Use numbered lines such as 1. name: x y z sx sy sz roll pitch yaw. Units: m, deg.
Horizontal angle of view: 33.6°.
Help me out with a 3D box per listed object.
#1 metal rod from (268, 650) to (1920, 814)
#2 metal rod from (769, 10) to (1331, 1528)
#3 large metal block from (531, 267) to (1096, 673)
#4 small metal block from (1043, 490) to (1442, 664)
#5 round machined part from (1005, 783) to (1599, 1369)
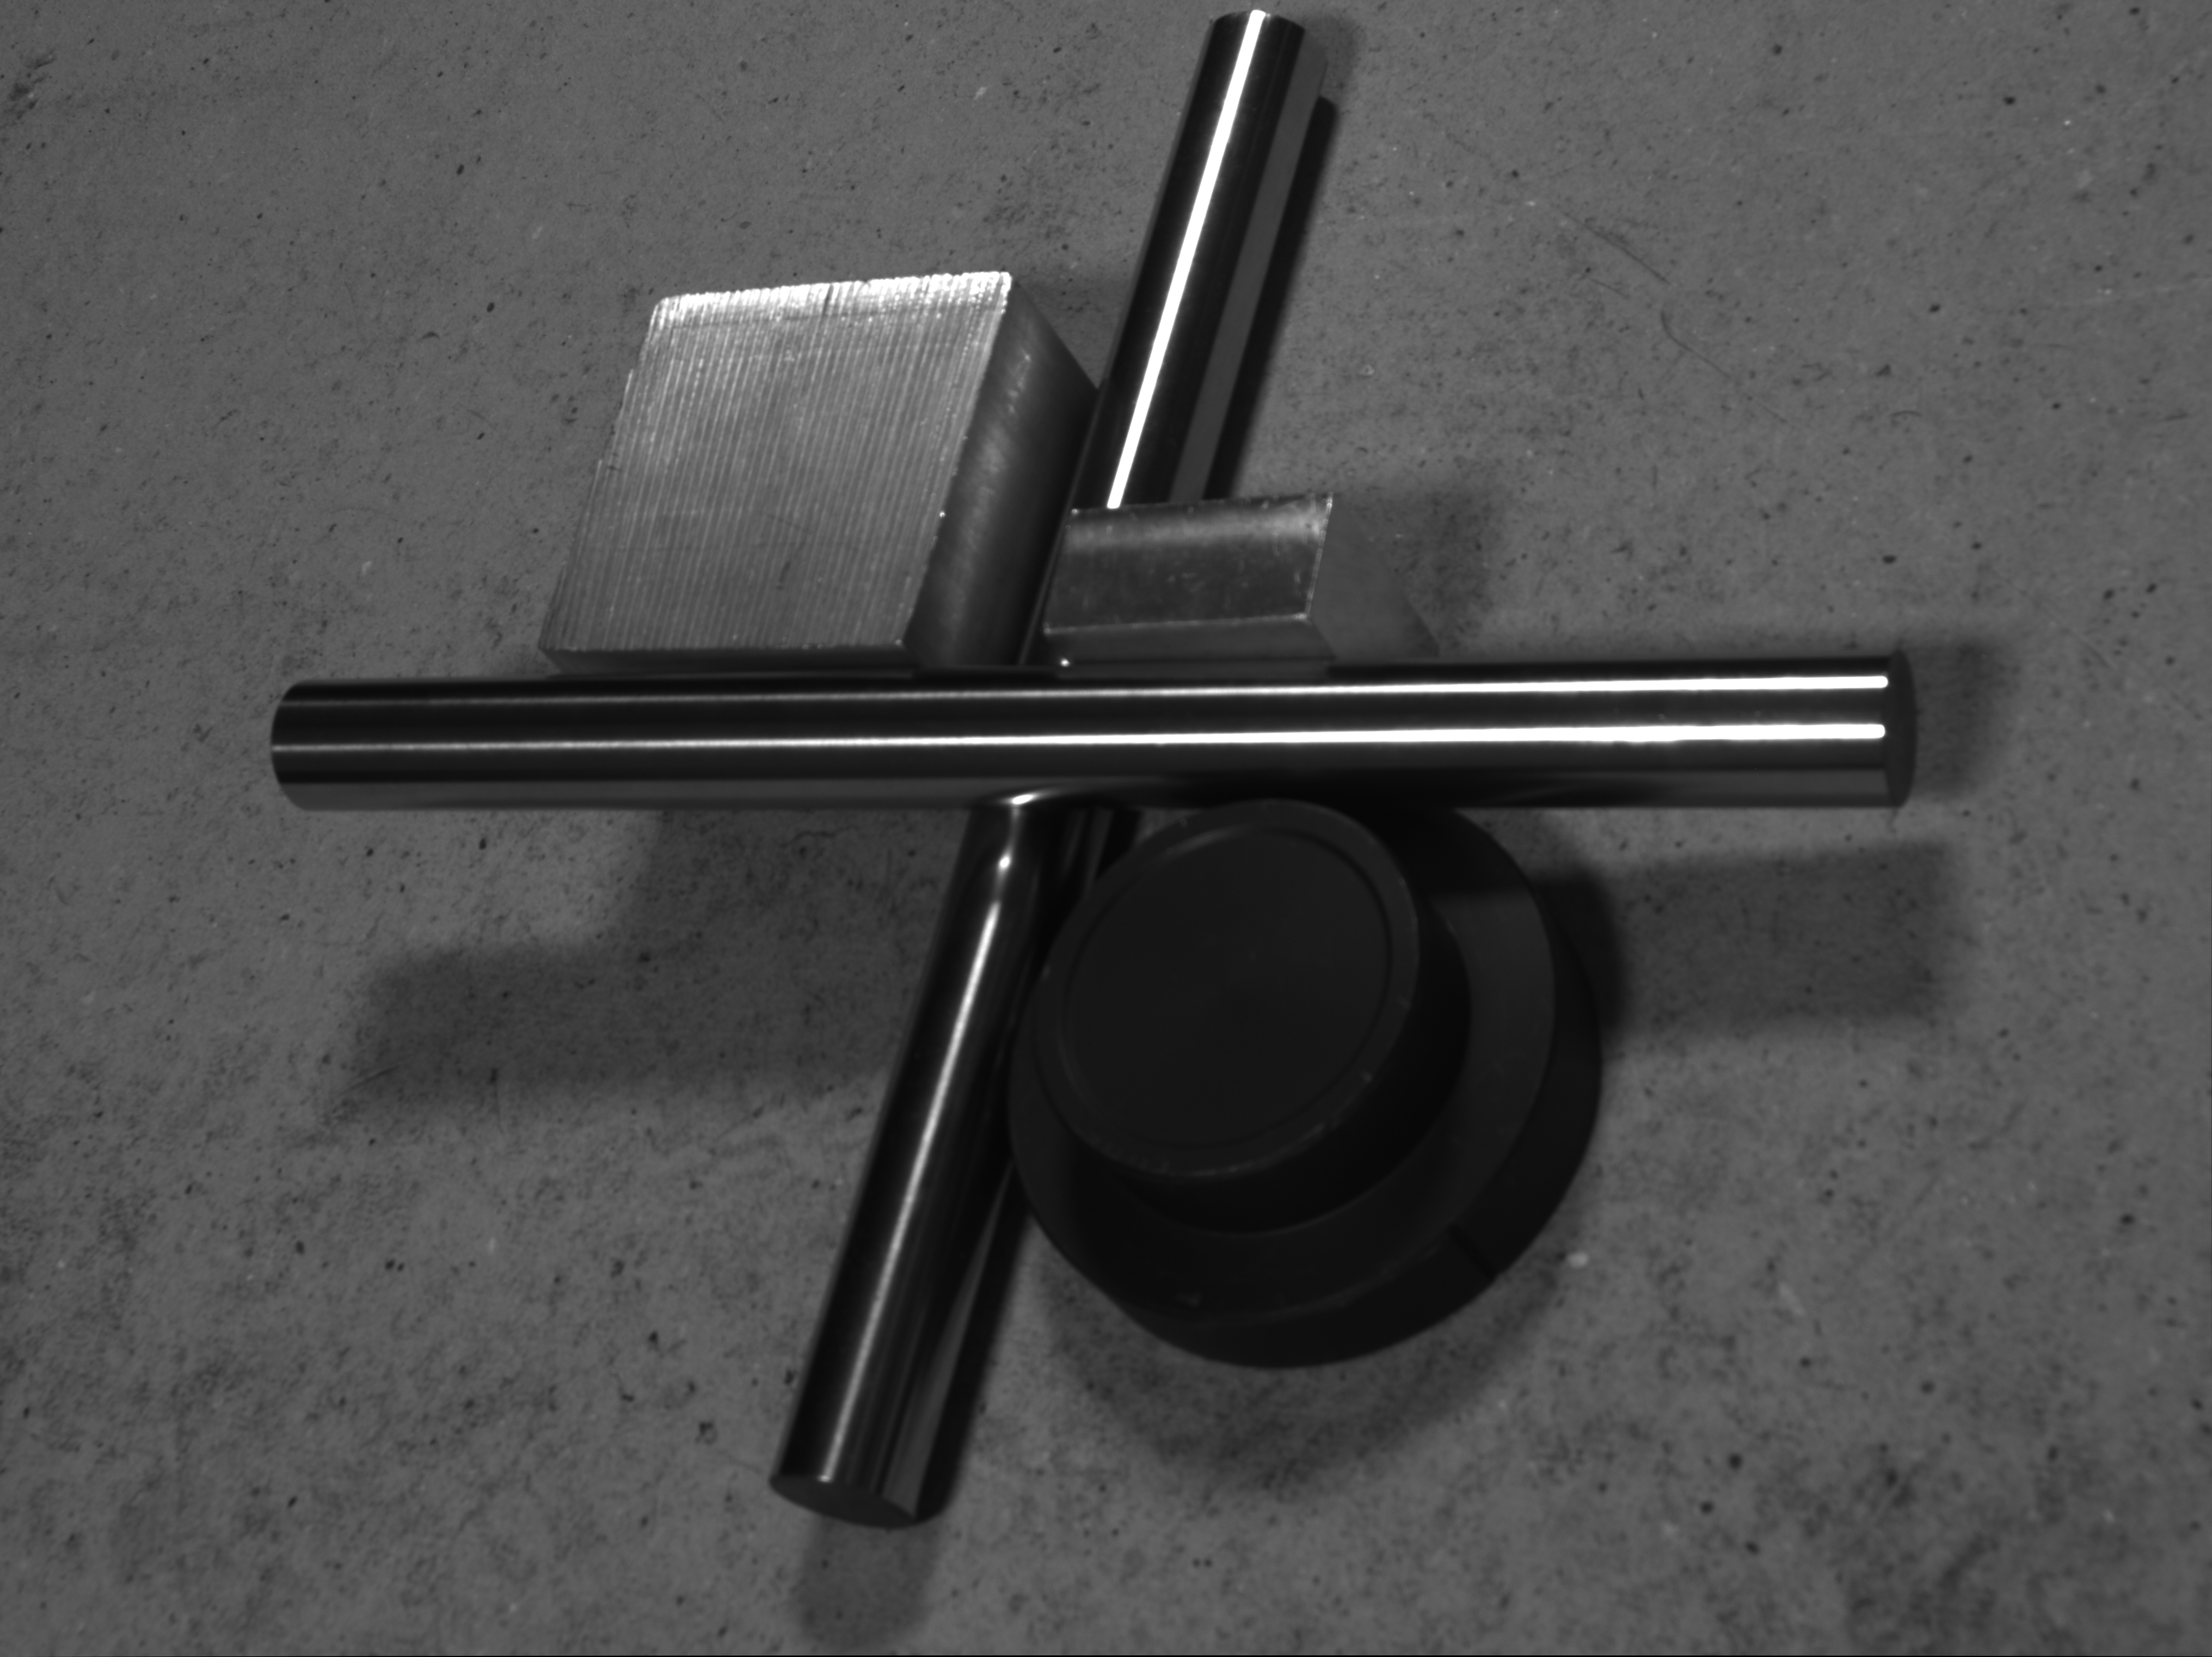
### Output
1. metal rod: -0.013 -0.015 0.629 0.299 0.025 0.025 0 61 24
2. metal rod: -0.006 -0.021 0.661 0.025 0.025 0.300 2 62 29
3. large metal block: -0.051 -0.056 0.689 0.080 0.050 0.080 1 62 29
4. small metal block: 0.024 -0.033 0.636 0.050 0.050 0.025 -1 61 28
5. round machined part: 0.027 0.035 0.596 0.098 0.042 0.098 -13 56 21
